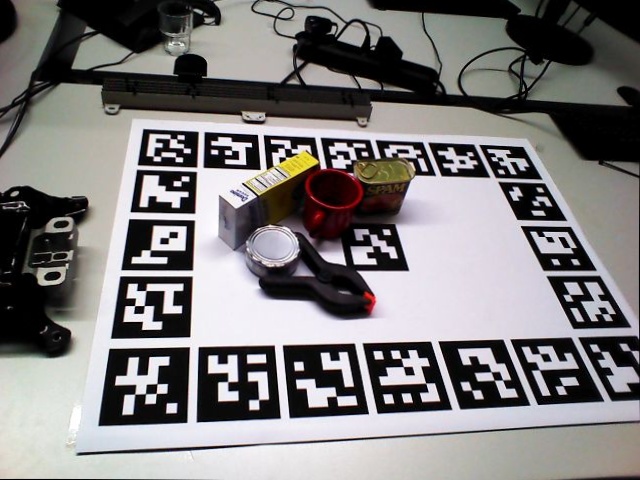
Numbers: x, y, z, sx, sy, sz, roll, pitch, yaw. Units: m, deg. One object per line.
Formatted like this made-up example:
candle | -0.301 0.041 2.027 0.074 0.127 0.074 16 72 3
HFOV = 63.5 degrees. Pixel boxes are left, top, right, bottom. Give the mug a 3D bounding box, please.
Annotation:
mug | 0.019 -0.050 0.812 0.093 0.082 0.116 20 51 5

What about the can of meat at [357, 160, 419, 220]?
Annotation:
can of meat | 0.110 -0.084 0.869 0.101 0.084 0.057 -6 50 -18

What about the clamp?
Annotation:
clamp | 0.012 0.067 0.753 0.165 0.037 0.121 30 46 8

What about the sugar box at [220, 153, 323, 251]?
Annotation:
sugar box | -0.074 -0.061 0.807 0.045 0.093 0.175 40 53 23

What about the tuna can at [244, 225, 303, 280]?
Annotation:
tuna can | -0.070 0.021 0.769 0.086 0.034 0.085 5 51 -7
